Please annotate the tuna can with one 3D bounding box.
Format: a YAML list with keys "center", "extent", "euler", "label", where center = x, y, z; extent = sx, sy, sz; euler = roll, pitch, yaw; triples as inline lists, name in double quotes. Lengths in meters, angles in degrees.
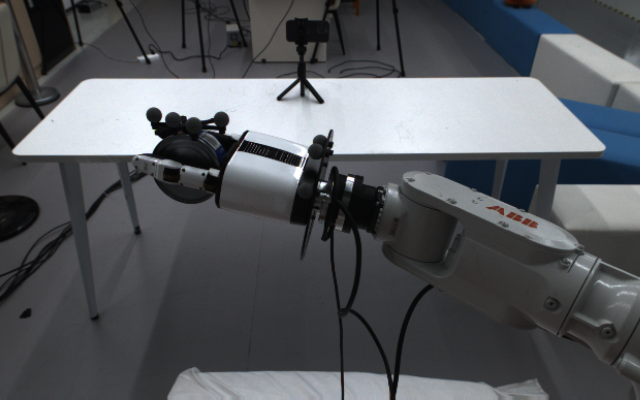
- center: [-0.152, -0.040, 0.576]
  extent: [0.085, 0.085, 0.034]
  euler: [6, 22, 5]
  label: "tuna can"
